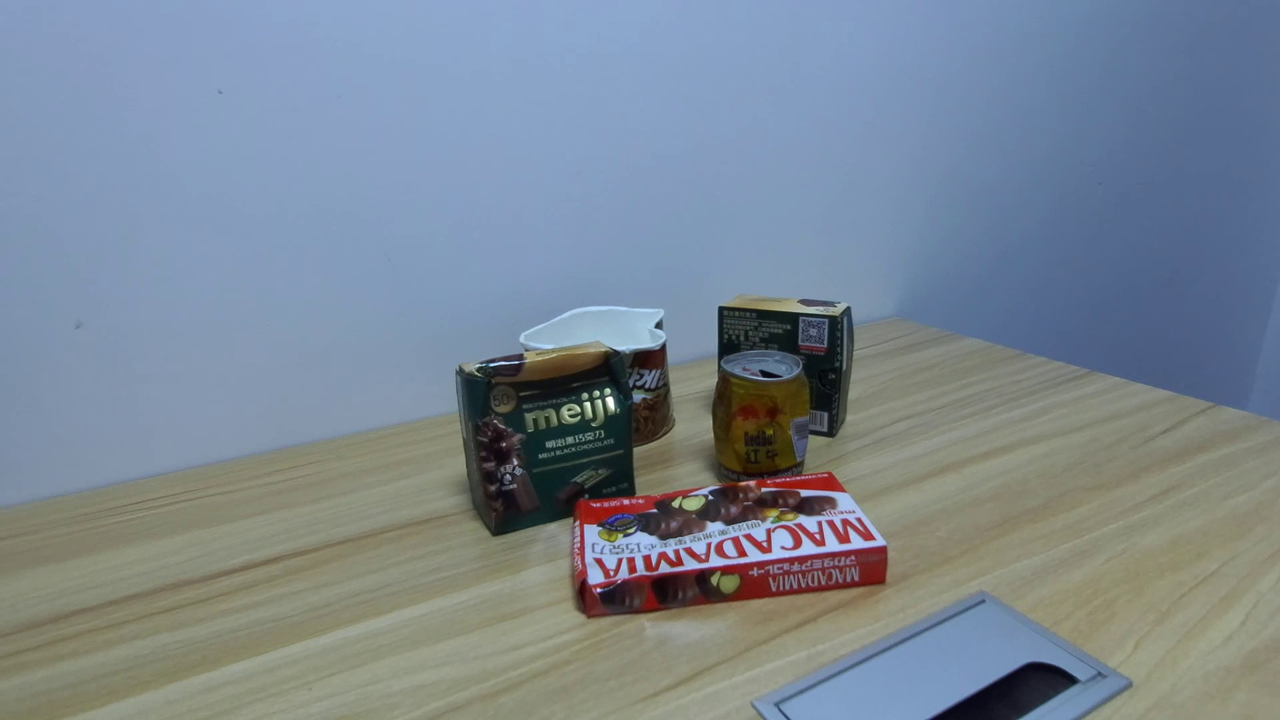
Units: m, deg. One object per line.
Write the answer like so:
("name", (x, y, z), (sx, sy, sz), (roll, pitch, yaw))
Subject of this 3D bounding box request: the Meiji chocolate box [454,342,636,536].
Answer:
("Meiji chocolate box", (-0.064, 0.051, 0.507), (0.118, 0.117, 0.051), (-10, 11, -20))

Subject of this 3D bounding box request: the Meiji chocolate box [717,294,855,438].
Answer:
("Meiji chocolate box", (0.129, 0.002, 0.623), (0.113, 0.111, 0.058), (7, 19, 27))

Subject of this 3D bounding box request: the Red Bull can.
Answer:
("Red Bull can", (0.089, 0.044, 0.525), (0.072, 0.092, 0.072), (-2, 21, 1))

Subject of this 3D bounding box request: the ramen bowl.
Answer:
("ramen bowl", (-0.036, 0.014, 0.631), (0.134, 0.097, 0.113), (-2, 20, -4))

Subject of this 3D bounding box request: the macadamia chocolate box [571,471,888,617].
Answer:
("macadamia chocolate box", (0.049, 0.111, 0.442), (0.183, 0.028, 0.105), (-5, 18, -5))
